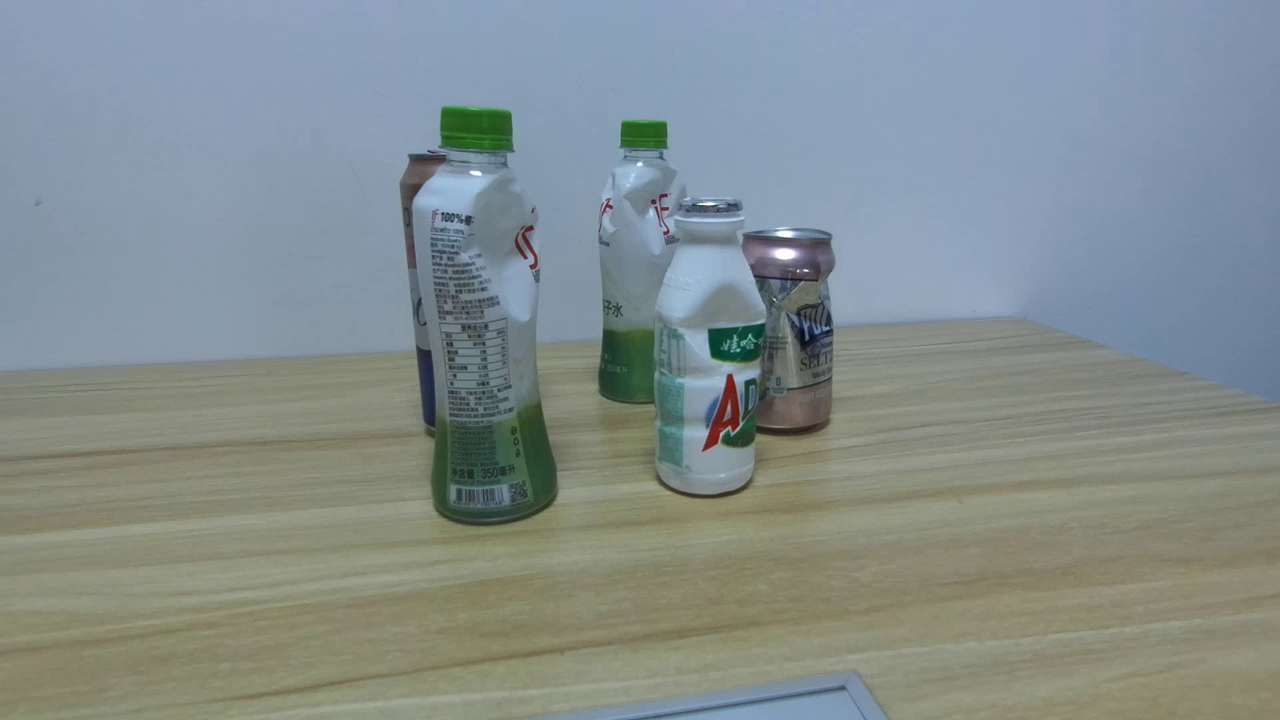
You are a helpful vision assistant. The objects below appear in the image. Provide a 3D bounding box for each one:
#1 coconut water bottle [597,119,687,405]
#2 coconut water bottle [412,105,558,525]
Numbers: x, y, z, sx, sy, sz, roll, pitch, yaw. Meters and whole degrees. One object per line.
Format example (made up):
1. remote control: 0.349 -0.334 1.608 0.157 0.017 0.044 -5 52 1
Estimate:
1. coconut water bottle: 0.002 -0.069 0.496 0.067 0.187 0.067 1 18 0
2. coconut water bottle: -0.074 -0.020 0.339 0.069 0.187 0.069 -1 12 0
